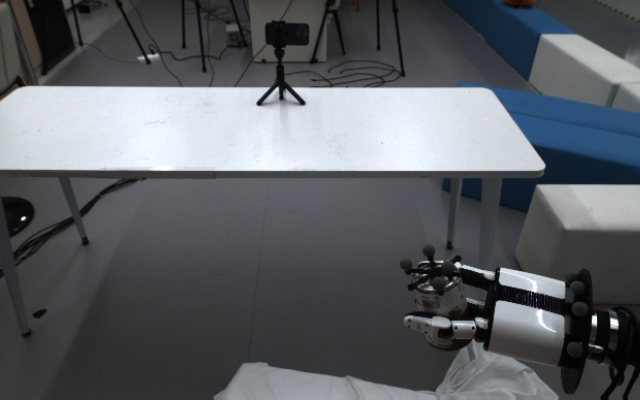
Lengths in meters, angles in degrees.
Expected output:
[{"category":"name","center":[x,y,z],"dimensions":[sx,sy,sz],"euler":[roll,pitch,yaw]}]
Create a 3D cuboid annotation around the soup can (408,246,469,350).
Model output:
[{"category":"soup can","center":[0.171,0.145,0.665],"dimensions":[0.067,0.101,0.067],"euler":[-16,23,7]}]
